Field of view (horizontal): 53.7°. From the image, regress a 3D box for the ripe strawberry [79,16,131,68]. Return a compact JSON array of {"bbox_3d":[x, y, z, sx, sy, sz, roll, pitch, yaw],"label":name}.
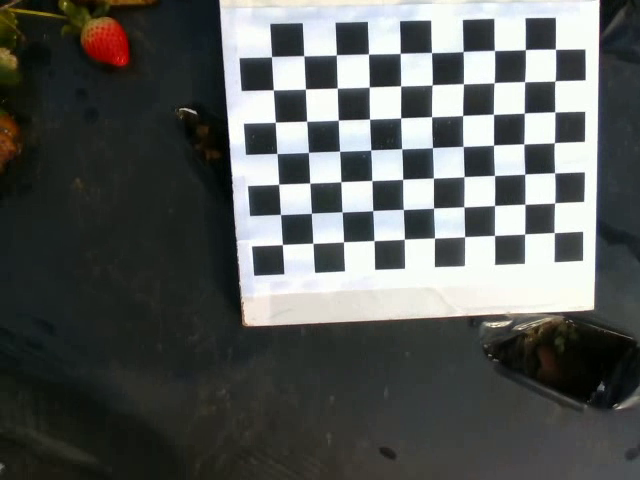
[{"bbox_3d":[-0.152,-0.140,0.446,0.035,0.043,0.029,-40,5,3],"label":"ripe strawberry"}]
